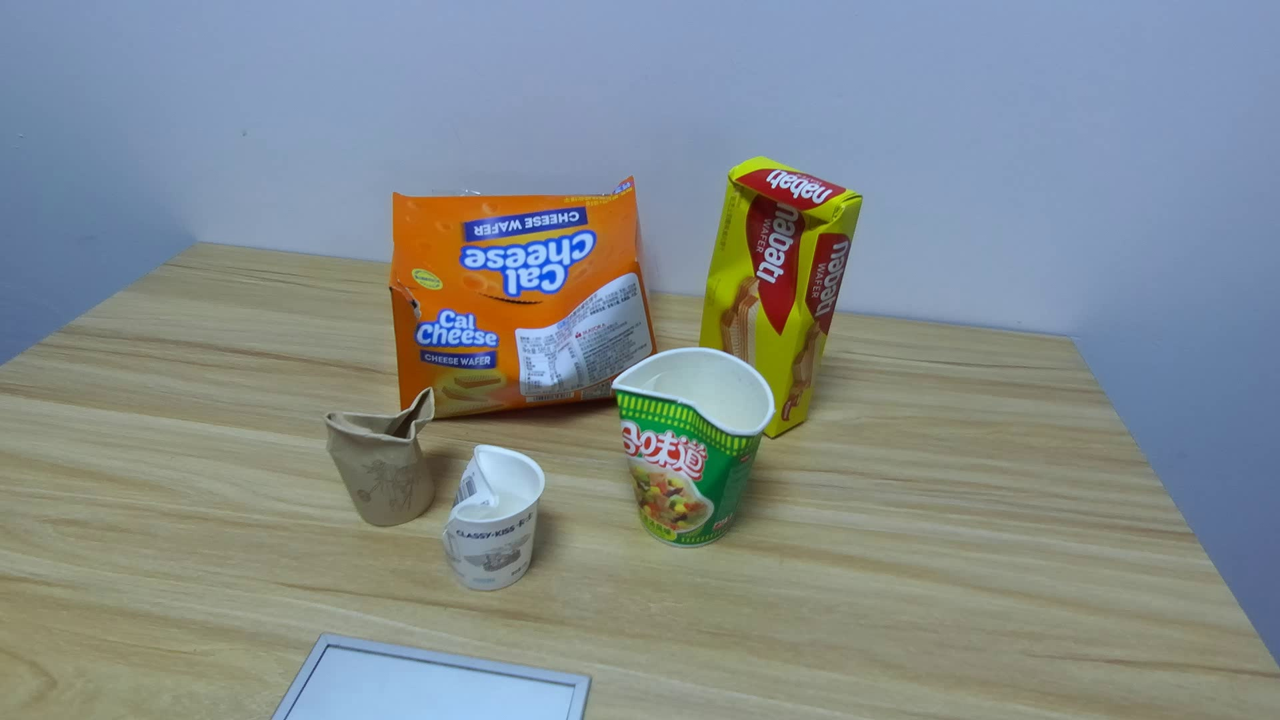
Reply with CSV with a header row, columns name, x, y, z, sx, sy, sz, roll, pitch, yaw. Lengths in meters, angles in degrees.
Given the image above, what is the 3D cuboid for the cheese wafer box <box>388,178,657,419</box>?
name,x,y,z,sx,sy,sz,roll,pitch,yaw
cheese wafer box,-0.094,-0.051,0.598,0.219,0.145,0.190,-5,36,-11

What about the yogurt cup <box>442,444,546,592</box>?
name,x,y,z,sx,sy,sz,roll,pitch,yaw
yogurt cup,-0.093,0.102,0.446,0.067,0.070,0.067,1,33,0

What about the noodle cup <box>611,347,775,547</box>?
name,x,y,z,sx,sy,sz,roll,pitch,yaw
noodle cup,0.038,0.062,0.469,0.087,0.109,0.093,-23,42,-31

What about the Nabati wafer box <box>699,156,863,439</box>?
name,x,y,z,sx,sy,sz,roll,pitch,yaw
Nabati wafer box,0.098,-0.043,0.545,0.042,0.203,0.096,-24,45,-35

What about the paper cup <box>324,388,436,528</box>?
name,x,y,z,sx,sy,sz,roll,pitch,yaw
paper cup,-0.170,0.064,0.483,0.066,0.083,0.058,8,34,6
